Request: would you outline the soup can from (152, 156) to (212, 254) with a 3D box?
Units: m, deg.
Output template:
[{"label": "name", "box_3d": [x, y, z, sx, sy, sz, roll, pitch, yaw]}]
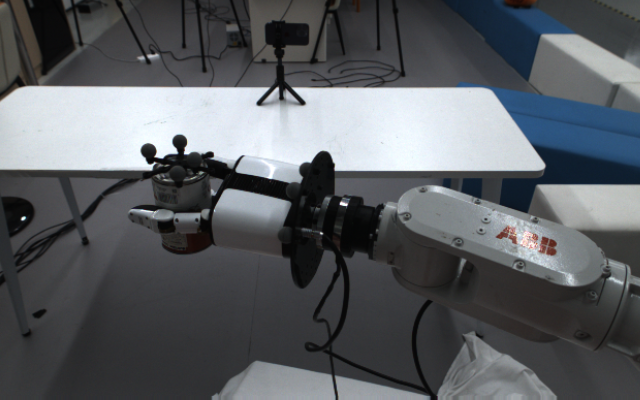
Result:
[{"label": "soup can", "box_3d": [-0.164, 0.008, 0.590, 0.067, 0.101, 0.067, 2, 32, -1]}]
